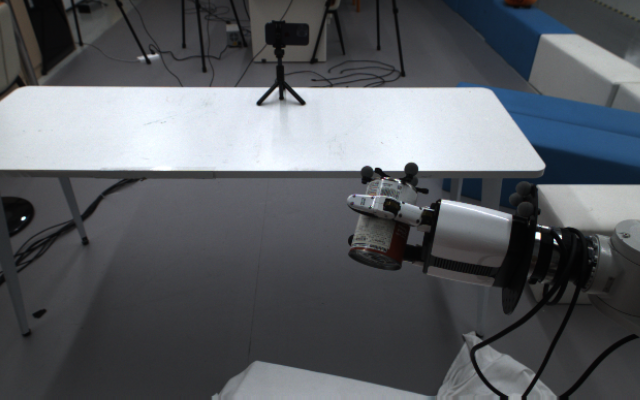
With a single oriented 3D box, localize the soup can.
[{"bbox_3d":[0.083,0.029,0.614,0.067,0.067,0.101,12,70,14],"label":"soup can"}]
